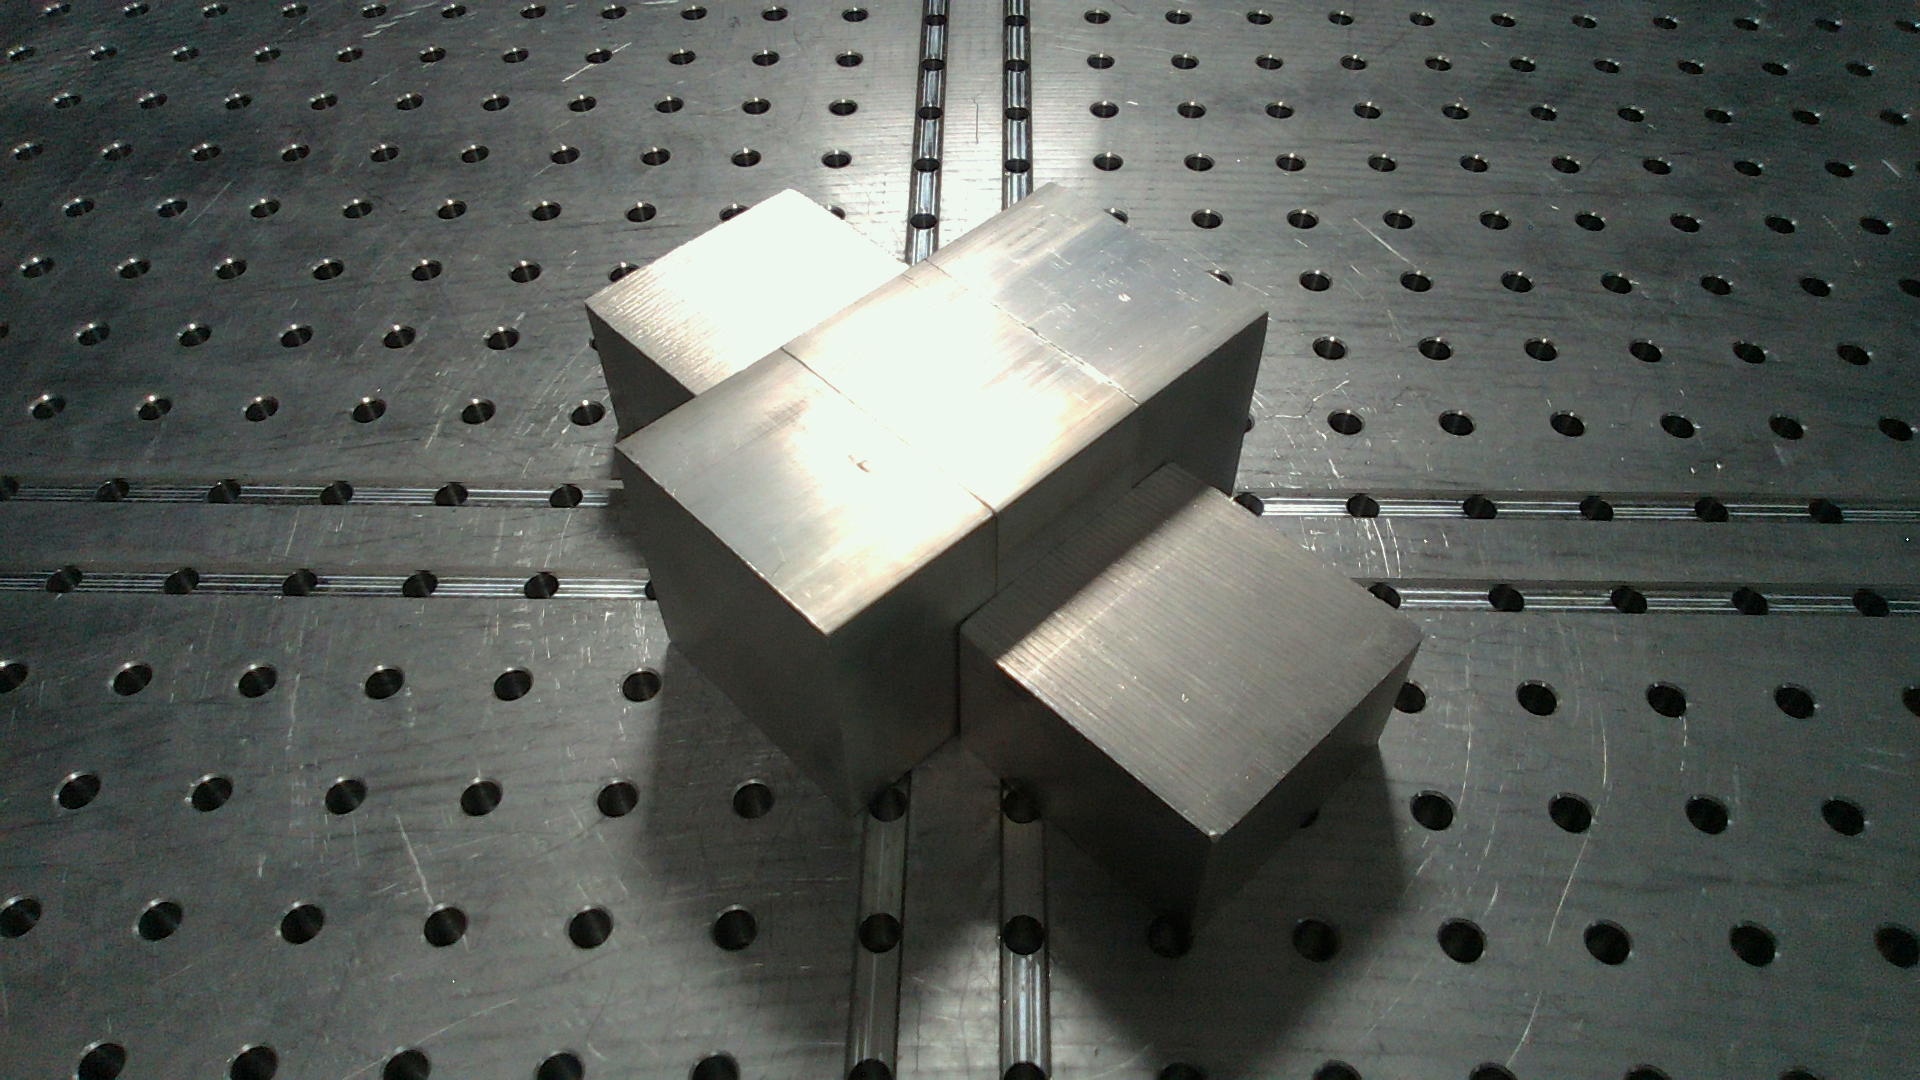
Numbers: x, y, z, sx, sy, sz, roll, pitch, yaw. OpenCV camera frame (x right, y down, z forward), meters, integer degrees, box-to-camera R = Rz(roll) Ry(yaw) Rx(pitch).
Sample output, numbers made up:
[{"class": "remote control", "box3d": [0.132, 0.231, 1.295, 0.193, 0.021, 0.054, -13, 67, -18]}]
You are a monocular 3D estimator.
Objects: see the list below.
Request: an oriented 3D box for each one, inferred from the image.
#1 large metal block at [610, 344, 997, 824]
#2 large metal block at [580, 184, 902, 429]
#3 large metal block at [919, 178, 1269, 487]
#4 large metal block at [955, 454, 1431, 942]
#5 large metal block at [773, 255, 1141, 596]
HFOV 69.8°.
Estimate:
[{"class": "large metal block", "box3d": [-0.037, 0.011, 0.350, 0.050, 0.080, 0.080, -37, 59, -27]}, {"class": "large metal block", "box3d": [-0.054, -0.054, 0.420, 0.080, 0.050, 0.080, 37, 60, 27]}, {"class": "large metal block", "box3d": [0.035, -0.043, 0.396, 0.050, 0.080, 0.080, -37, 59, -27]}, {"class": "large metal block", "box3d": [0.056, 0.037, 0.347, 0.080, 0.050, 0.080, -37, 59, -26]}, {"class": "large metal block", "box3d": [-0.001, -0.016, 0.373, 0.050, 0.080, 0.080, -37, 59, -27]}]
